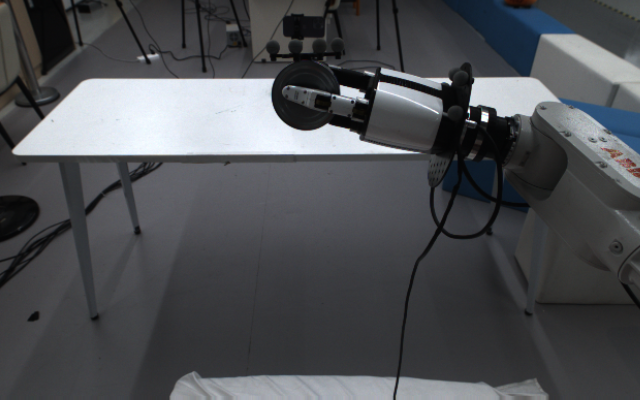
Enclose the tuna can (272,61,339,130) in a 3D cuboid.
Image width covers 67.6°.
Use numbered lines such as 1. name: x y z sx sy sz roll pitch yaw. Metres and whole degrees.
1. tuna can: -0.014 -0.129 0.609 0.085 0.085 0.034 4 18 3
